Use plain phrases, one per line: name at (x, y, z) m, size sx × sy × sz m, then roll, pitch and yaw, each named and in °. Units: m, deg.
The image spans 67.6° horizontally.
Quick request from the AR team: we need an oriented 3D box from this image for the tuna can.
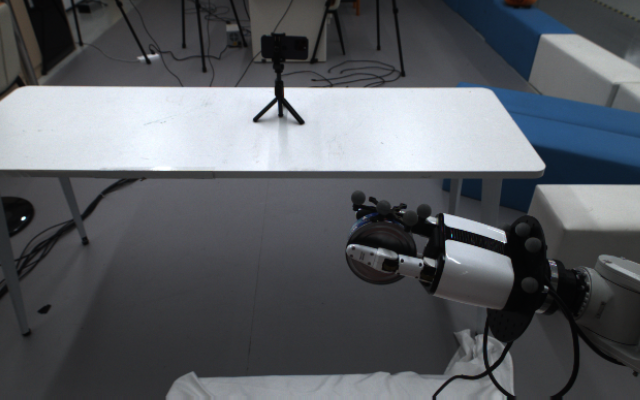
tuna can at (0.077, 0.057, 0.598) m, size 0.085 × 0.085 × 0.034 m, roll 5°, pitch 18°, yaw 4°
